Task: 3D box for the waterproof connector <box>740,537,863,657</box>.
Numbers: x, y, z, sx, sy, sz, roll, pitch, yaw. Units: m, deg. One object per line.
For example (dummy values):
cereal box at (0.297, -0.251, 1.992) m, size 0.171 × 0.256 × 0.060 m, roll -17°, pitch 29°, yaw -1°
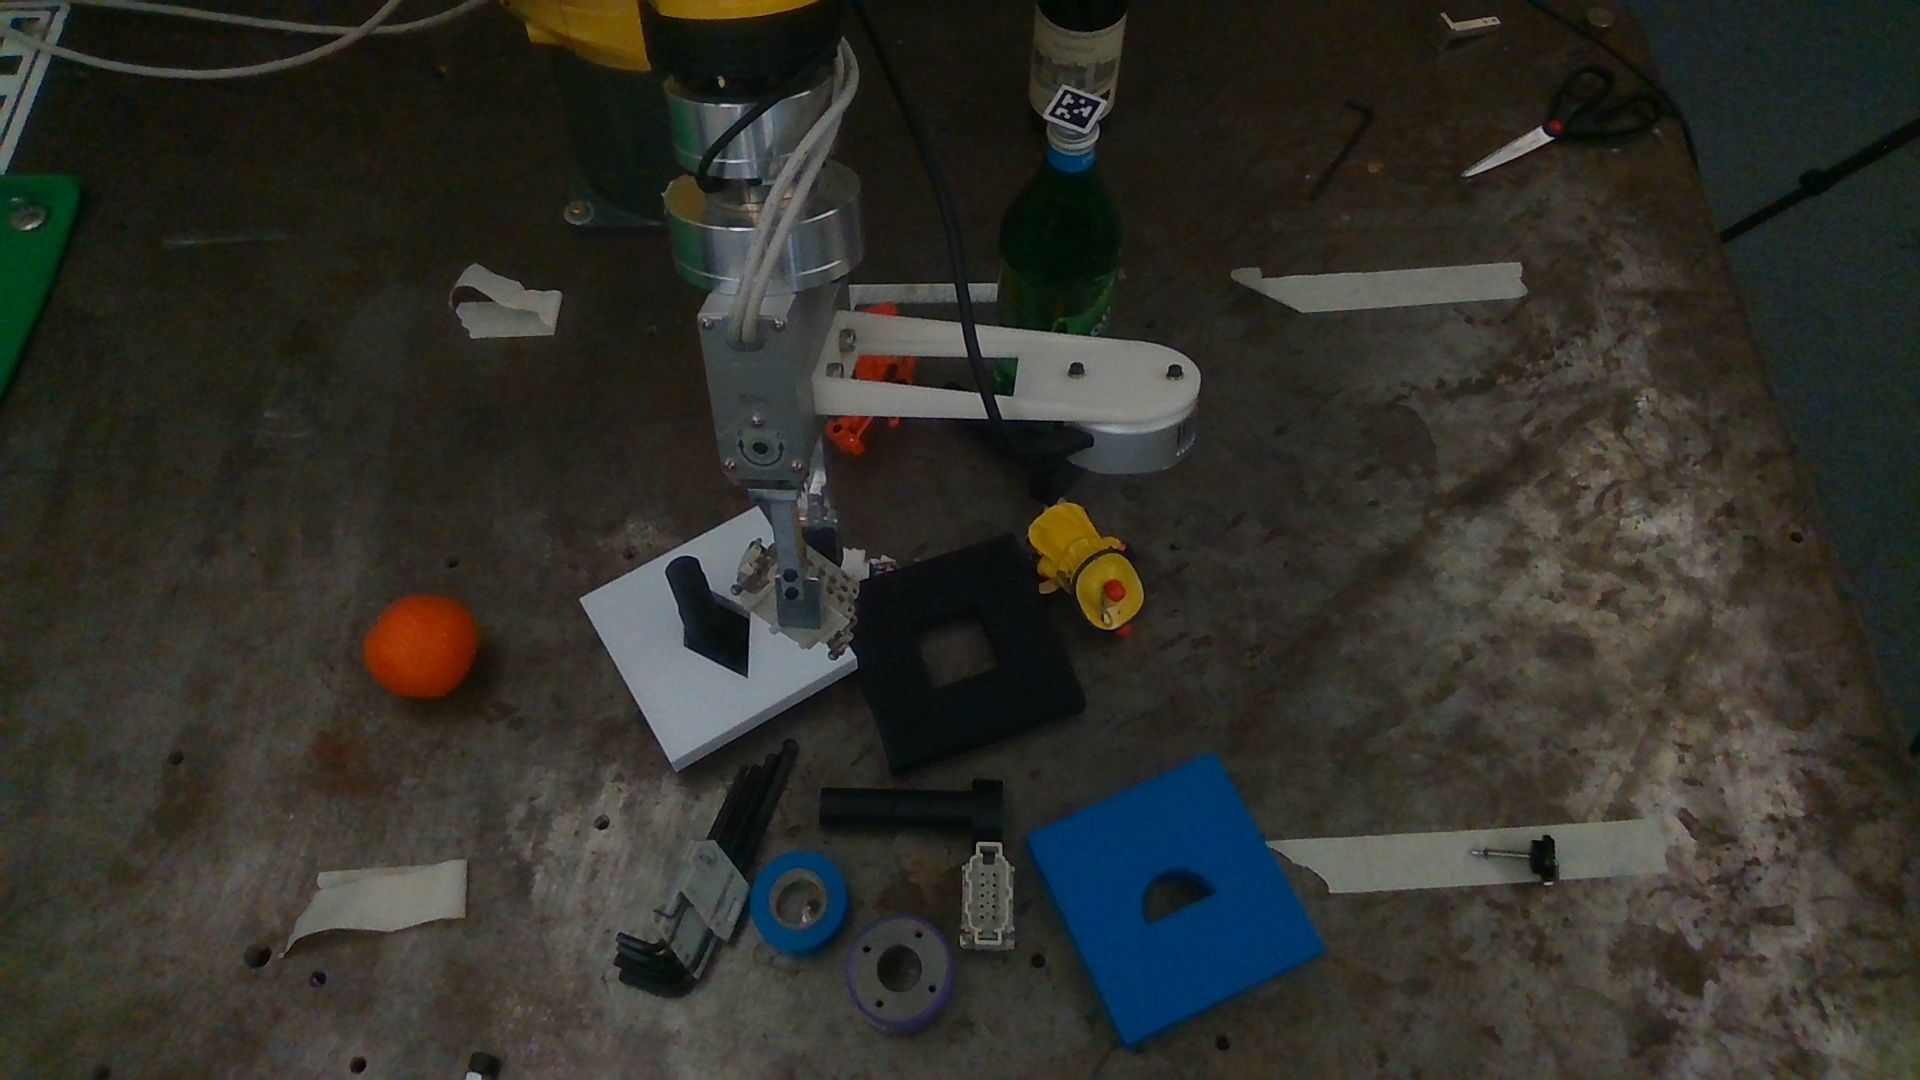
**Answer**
waterproof connector at (-0.081, 0.031, 0.706) m, size 0.069 × 0.039 × 0.036 m, roll 38°, pitch 29°, yaw -17°
